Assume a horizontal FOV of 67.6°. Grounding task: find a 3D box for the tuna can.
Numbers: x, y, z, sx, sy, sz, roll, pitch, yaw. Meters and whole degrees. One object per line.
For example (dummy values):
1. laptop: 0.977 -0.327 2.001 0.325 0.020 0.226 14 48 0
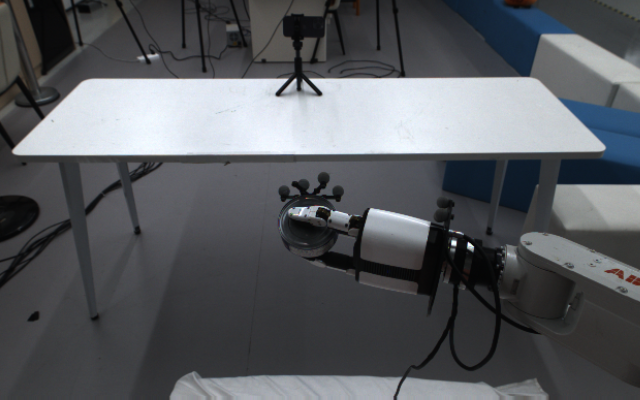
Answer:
1. tuna can: -0.014 0.041 0.679 0.085 0.034 0.085 -1 58 2
